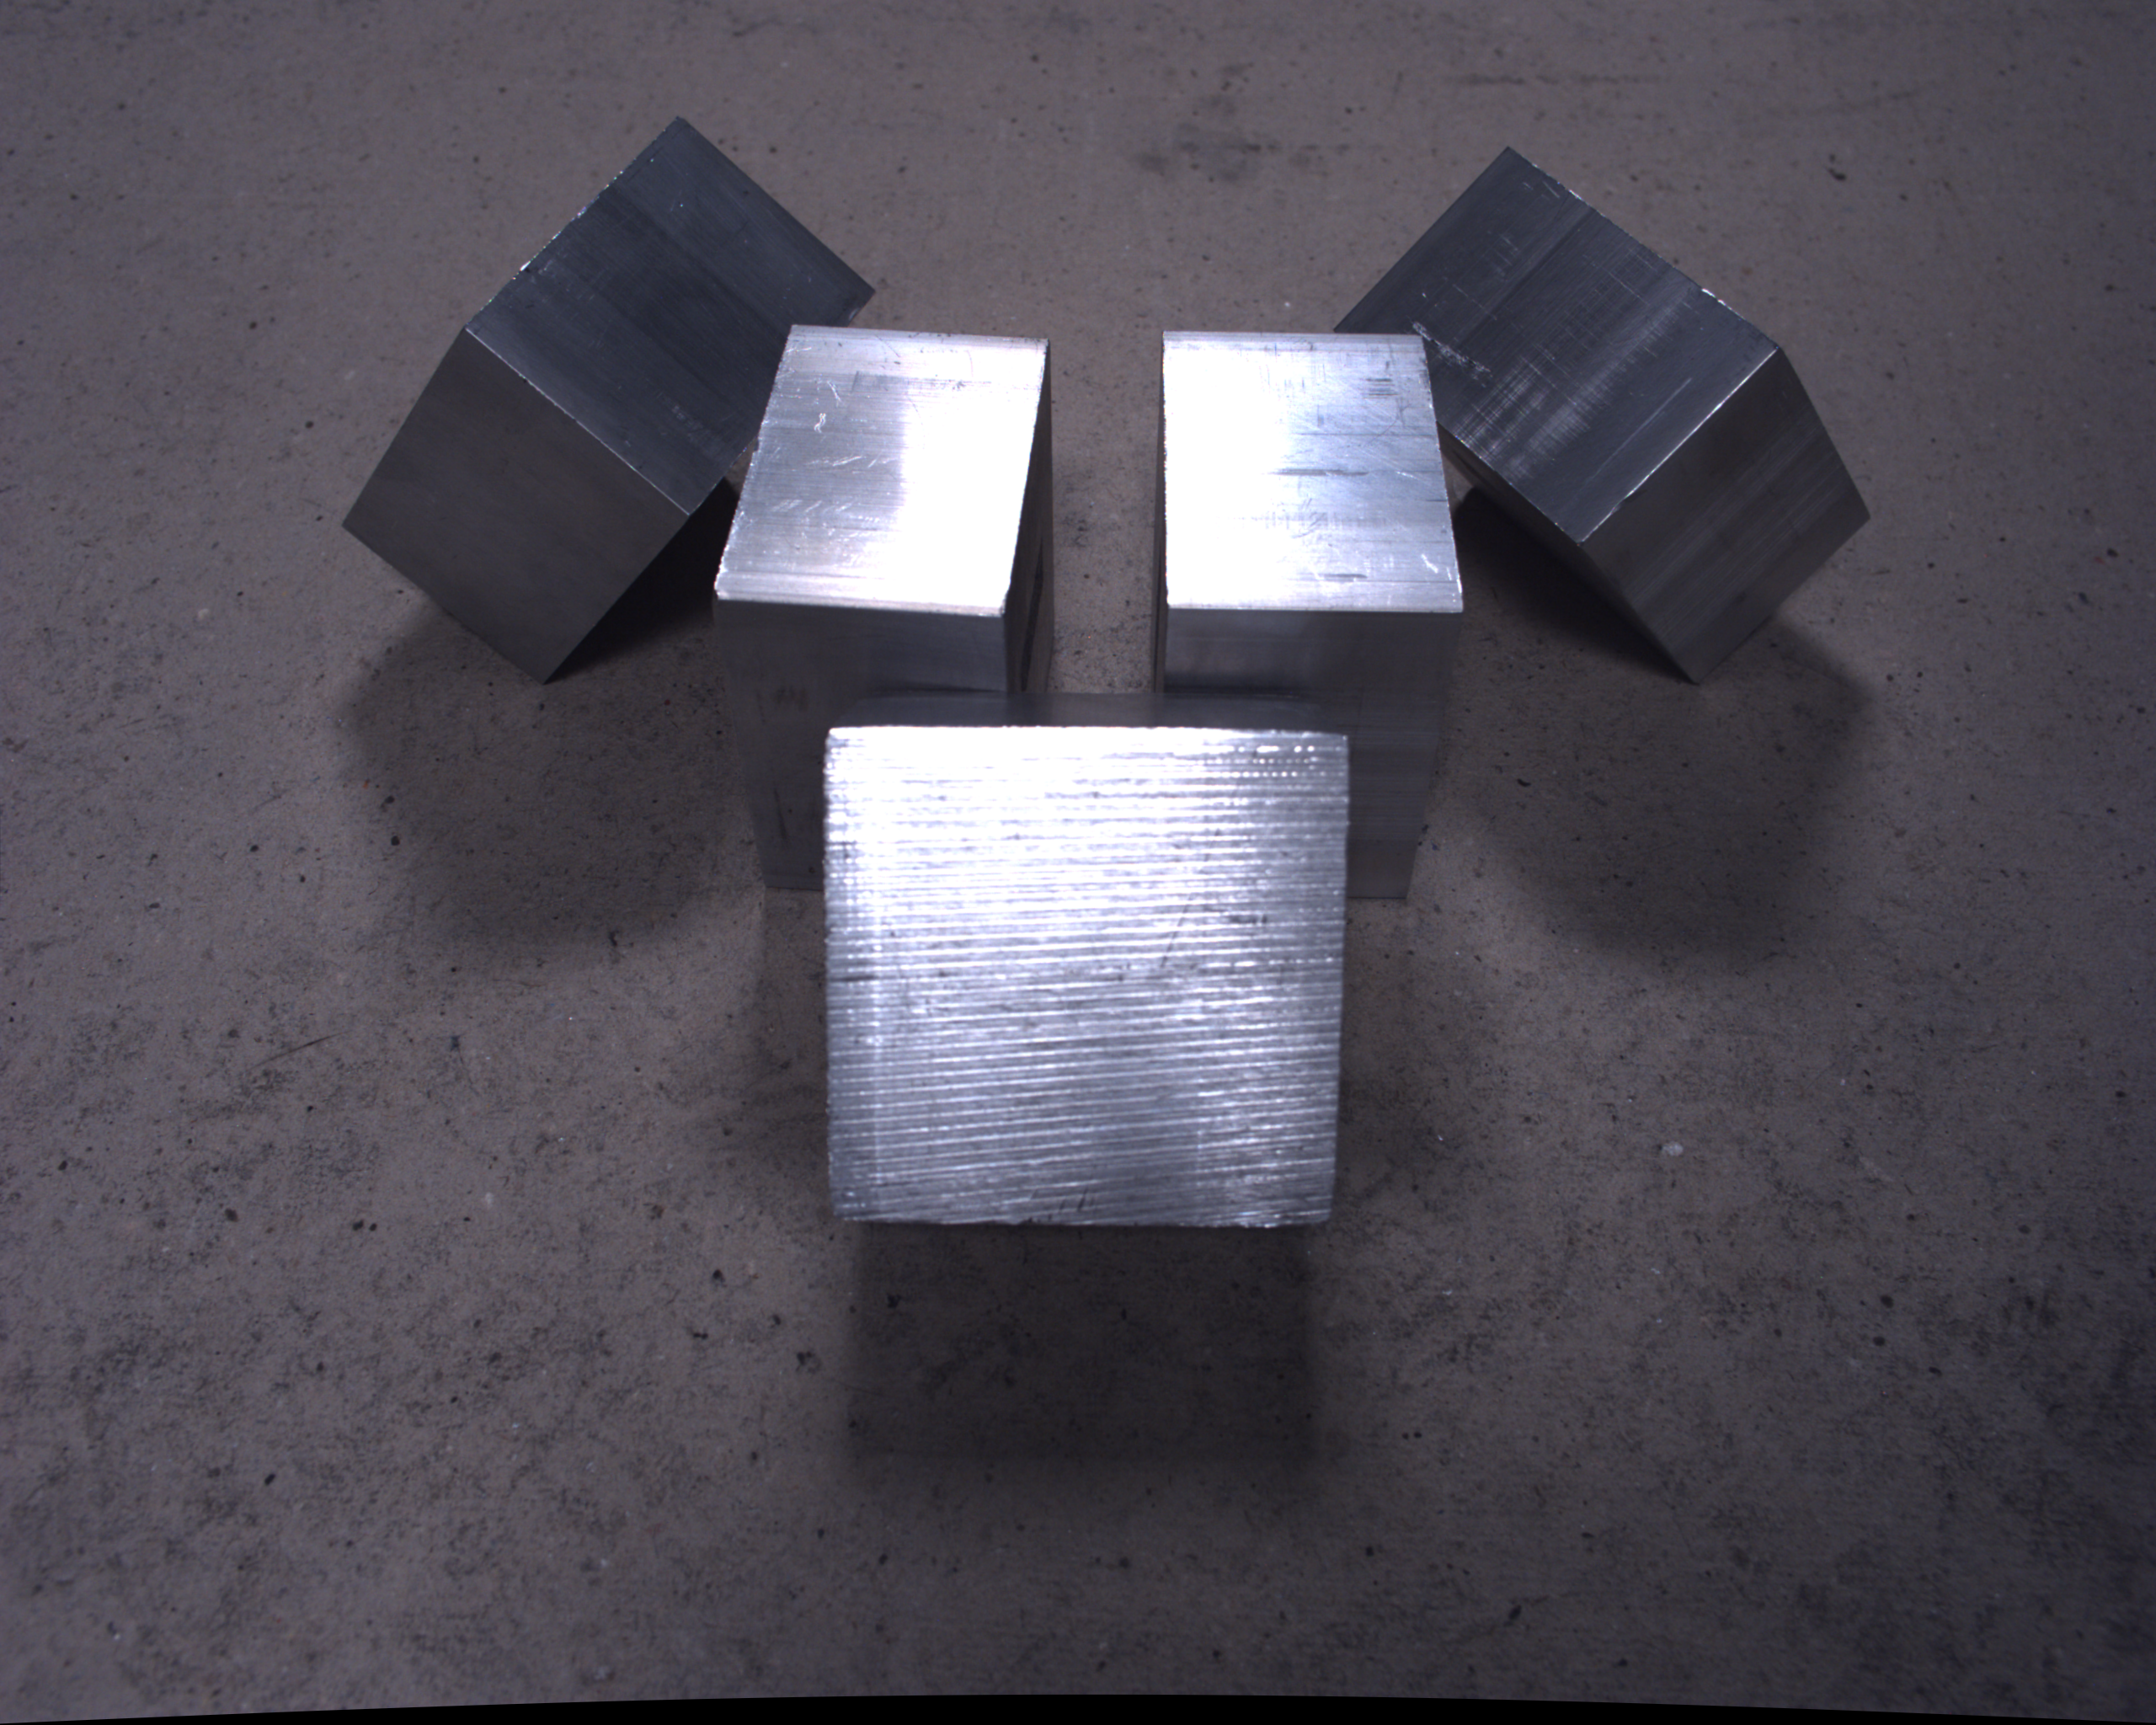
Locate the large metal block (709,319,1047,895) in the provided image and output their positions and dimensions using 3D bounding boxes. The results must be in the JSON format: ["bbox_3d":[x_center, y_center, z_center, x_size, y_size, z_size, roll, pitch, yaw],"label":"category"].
[{"bbox_3d":[-0.034,-0.048,0.409,0.050,0.080,0.080,4,50,3],"label":"large metal block"}]

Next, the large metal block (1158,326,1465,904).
[{"bbox_3d":[0.041,-0.048,0.410,0.050,0.080,0.080,1,50,0],"label":"large metal block"}]

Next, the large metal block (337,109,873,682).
[{"bbox_3d":[-0.099,-0.096,0.437,0.050,0.080,0.080,40,52,-15],"label":"large metal block"}]

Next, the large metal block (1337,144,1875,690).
[{"bbox_3d":[0.111,-0.092,0.440,0.050,0.080,0.080,-46,56,11],"label":"large metal block"}]

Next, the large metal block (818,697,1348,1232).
[{"bbox_3d":[0.001,0.014,0.349,0.081,0.079,0.050,1,11,0],"label":"large metal block"}]
